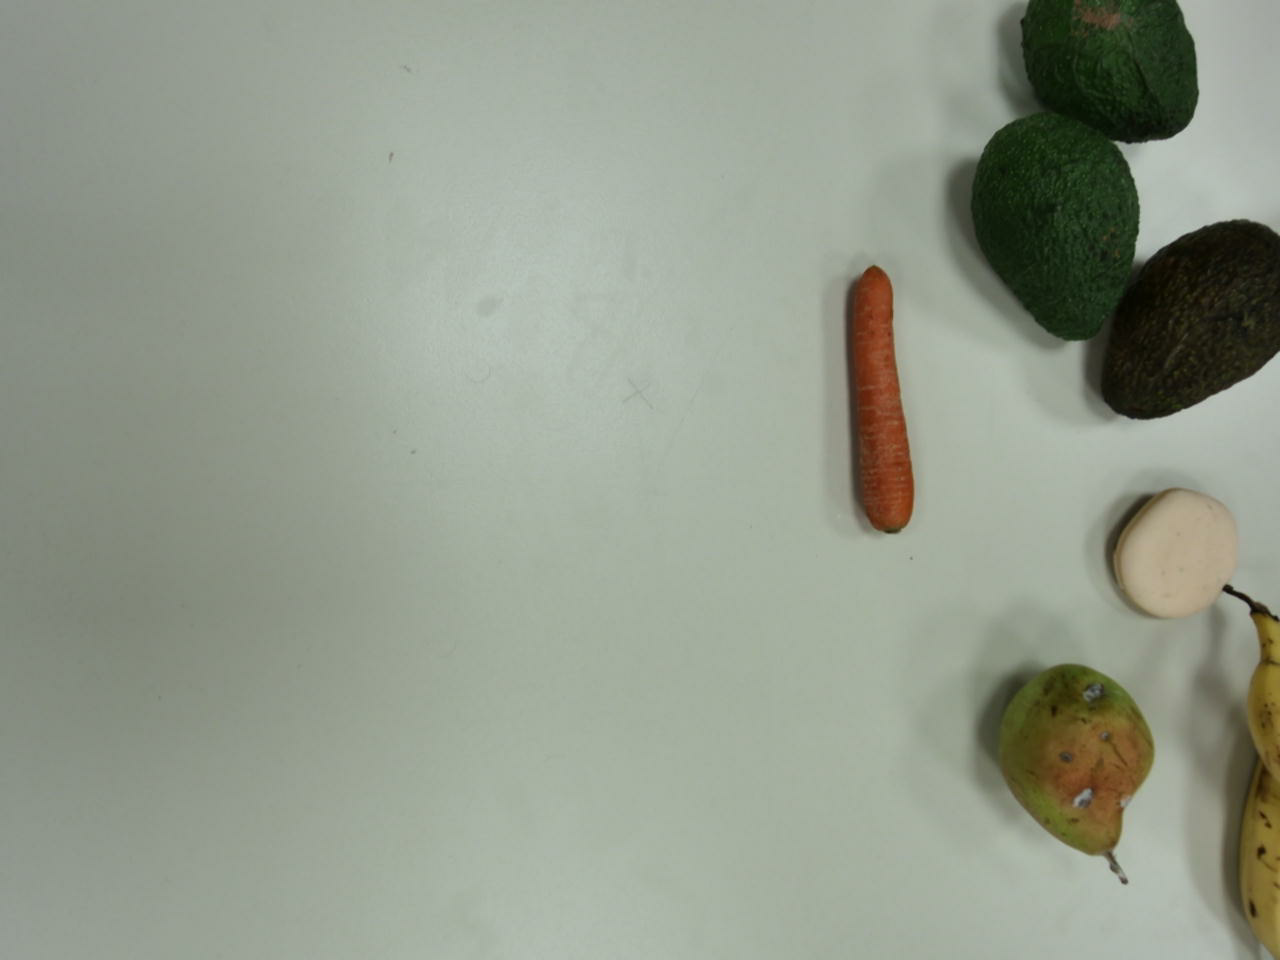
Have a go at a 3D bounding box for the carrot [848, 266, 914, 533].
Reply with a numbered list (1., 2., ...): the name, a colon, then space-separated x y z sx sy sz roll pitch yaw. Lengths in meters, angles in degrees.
1. carrot: 0.110 -0.037 0.453 0.024 0.023 0.122 -3 91 -12
